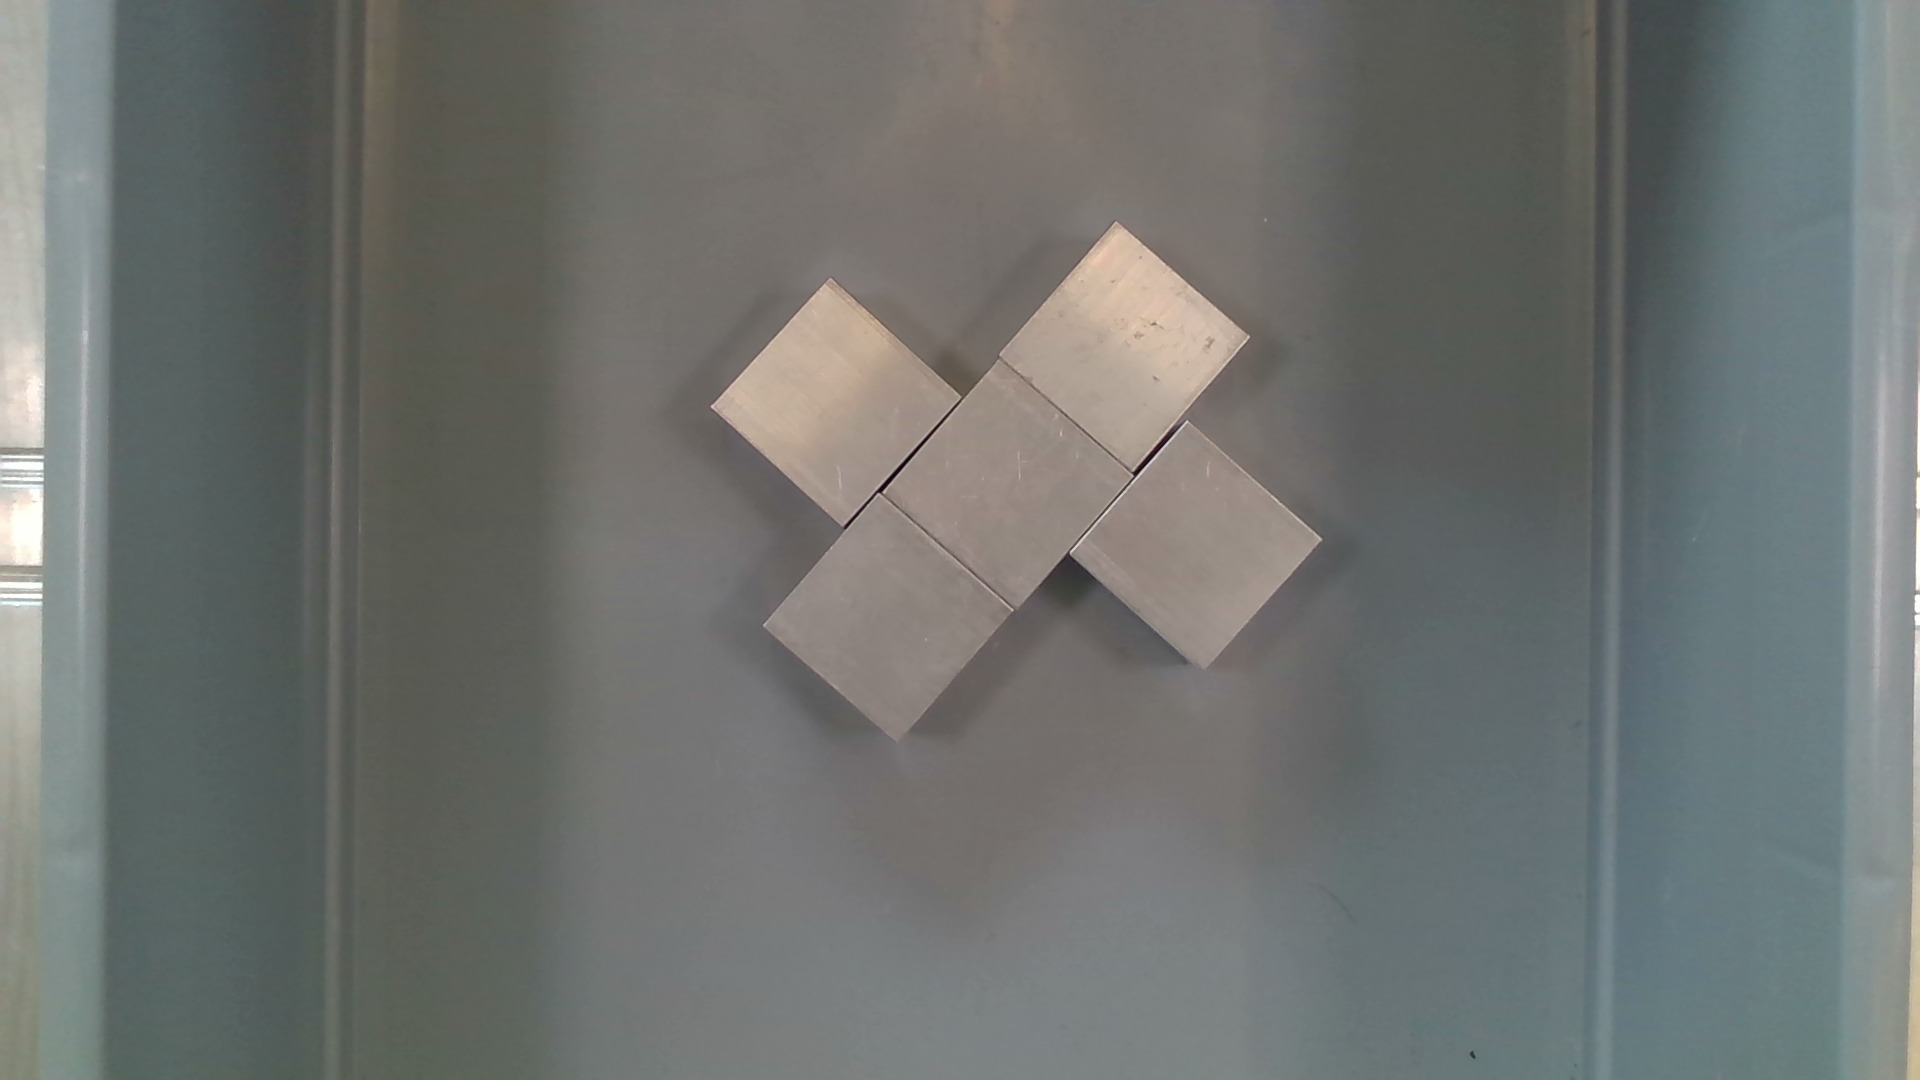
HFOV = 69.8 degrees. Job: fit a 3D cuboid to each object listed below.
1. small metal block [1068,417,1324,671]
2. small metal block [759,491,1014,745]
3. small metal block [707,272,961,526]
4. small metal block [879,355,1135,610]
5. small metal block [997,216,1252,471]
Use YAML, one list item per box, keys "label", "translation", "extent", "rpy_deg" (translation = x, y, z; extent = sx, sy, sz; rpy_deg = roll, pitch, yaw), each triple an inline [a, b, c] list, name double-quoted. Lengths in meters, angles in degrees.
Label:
- label: "small metal block"
  translation: [0.065, 0.001, 0.394]
  extent: [0.050, 0.025, 0.050]
  rpy_deg: [42, 90, -1]
- label: "small metal block"
  translation: [-0.020, 0.022, 0.394]
  extent: [0.050, 0.025, 0.050]
  rpy_deg: [41, 90, 0]
- label: "small metal block"
  translation: [-0.035, -0.039, 0.394]
  extent: [0.050, 0.025, 0.050]
  rpy_deg: [43, 90, 1]
- label: "small metal block"
  translation: [0.013, -0.016, 0.393]
  extent: [0.050, 0.025, 0.050]
  rpy_deg: [41, 90, 0]
- label: "small metal block"
  translation: [0.045, -0.055, 0.393]
  extent: [0.050, 0.025, 0.050]
  rpy_deg: [41, 90, 0]
